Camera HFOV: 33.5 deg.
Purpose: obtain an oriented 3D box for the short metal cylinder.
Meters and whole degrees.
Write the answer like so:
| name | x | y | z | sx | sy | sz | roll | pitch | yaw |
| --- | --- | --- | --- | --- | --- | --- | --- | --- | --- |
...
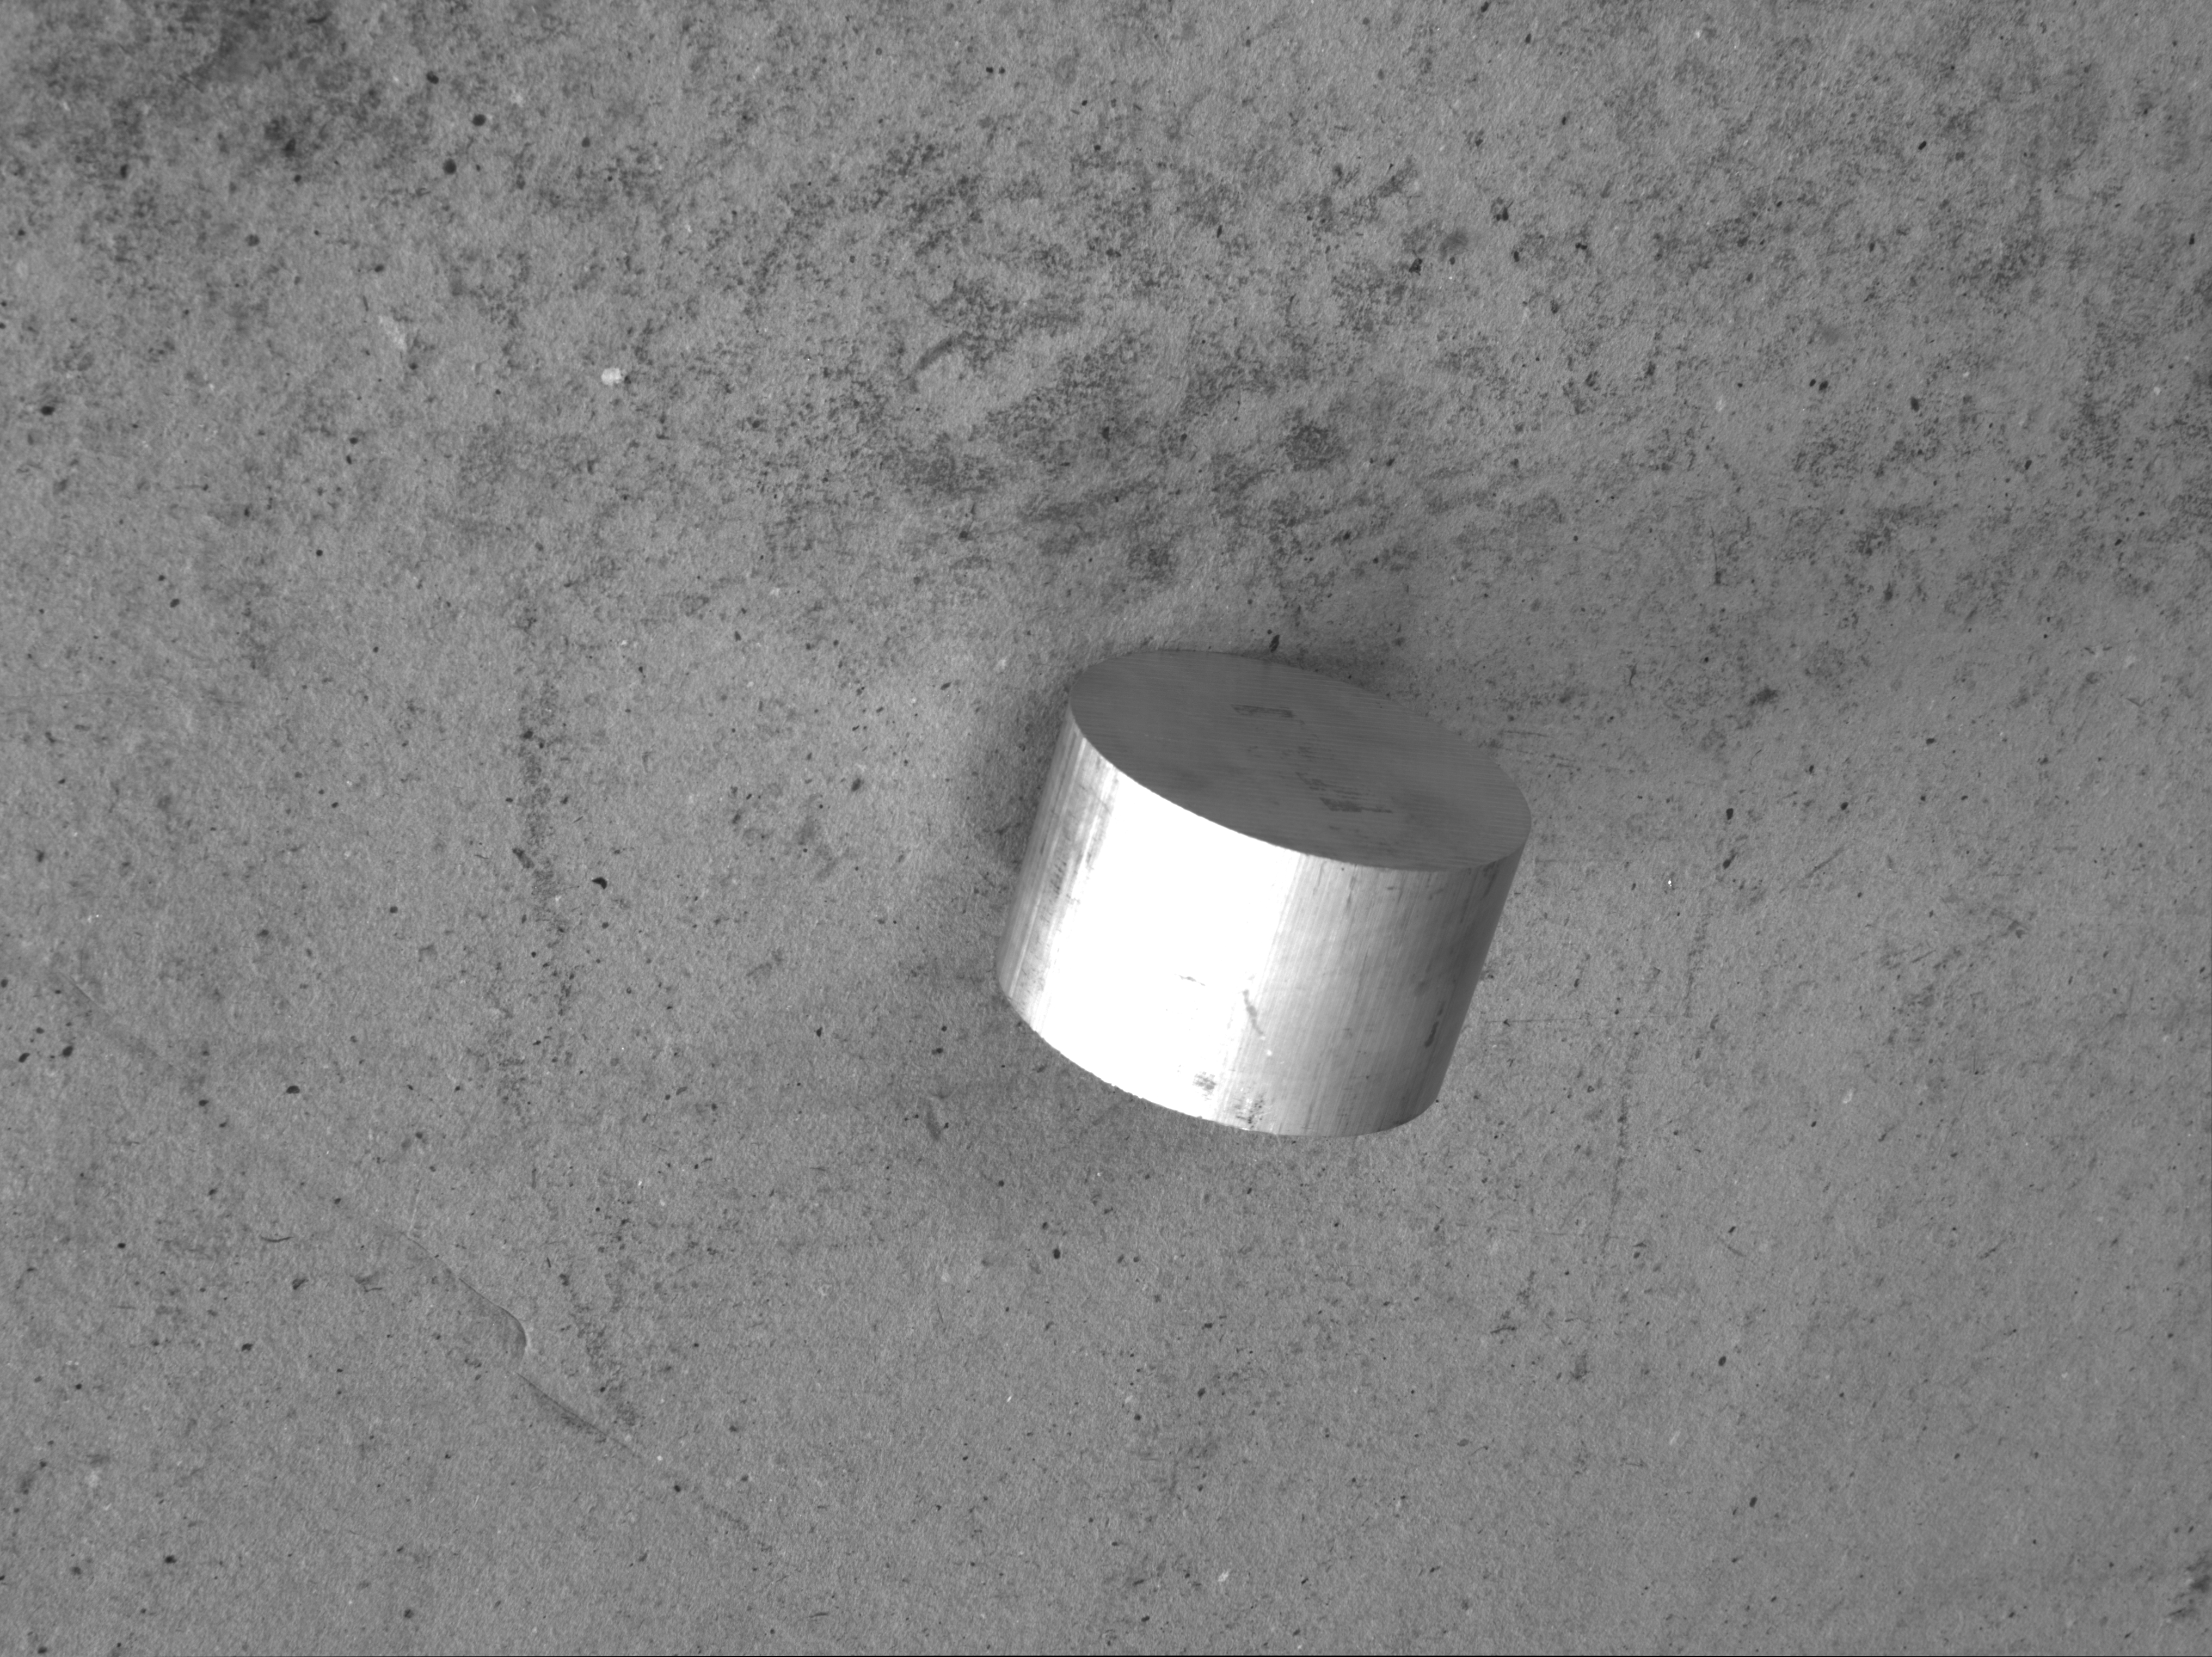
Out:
| name | x | y | z | sx | sy | sz | roll | pitch | yaw |
| --- | --- | --- | --- | --- | --- | --- | --- | --- | --- |
| short metal cylinder | 0.026 | 0.010 | 0.623 | 0.080 | 0.080 | 0.050 | 2 | 117 | -29 |
